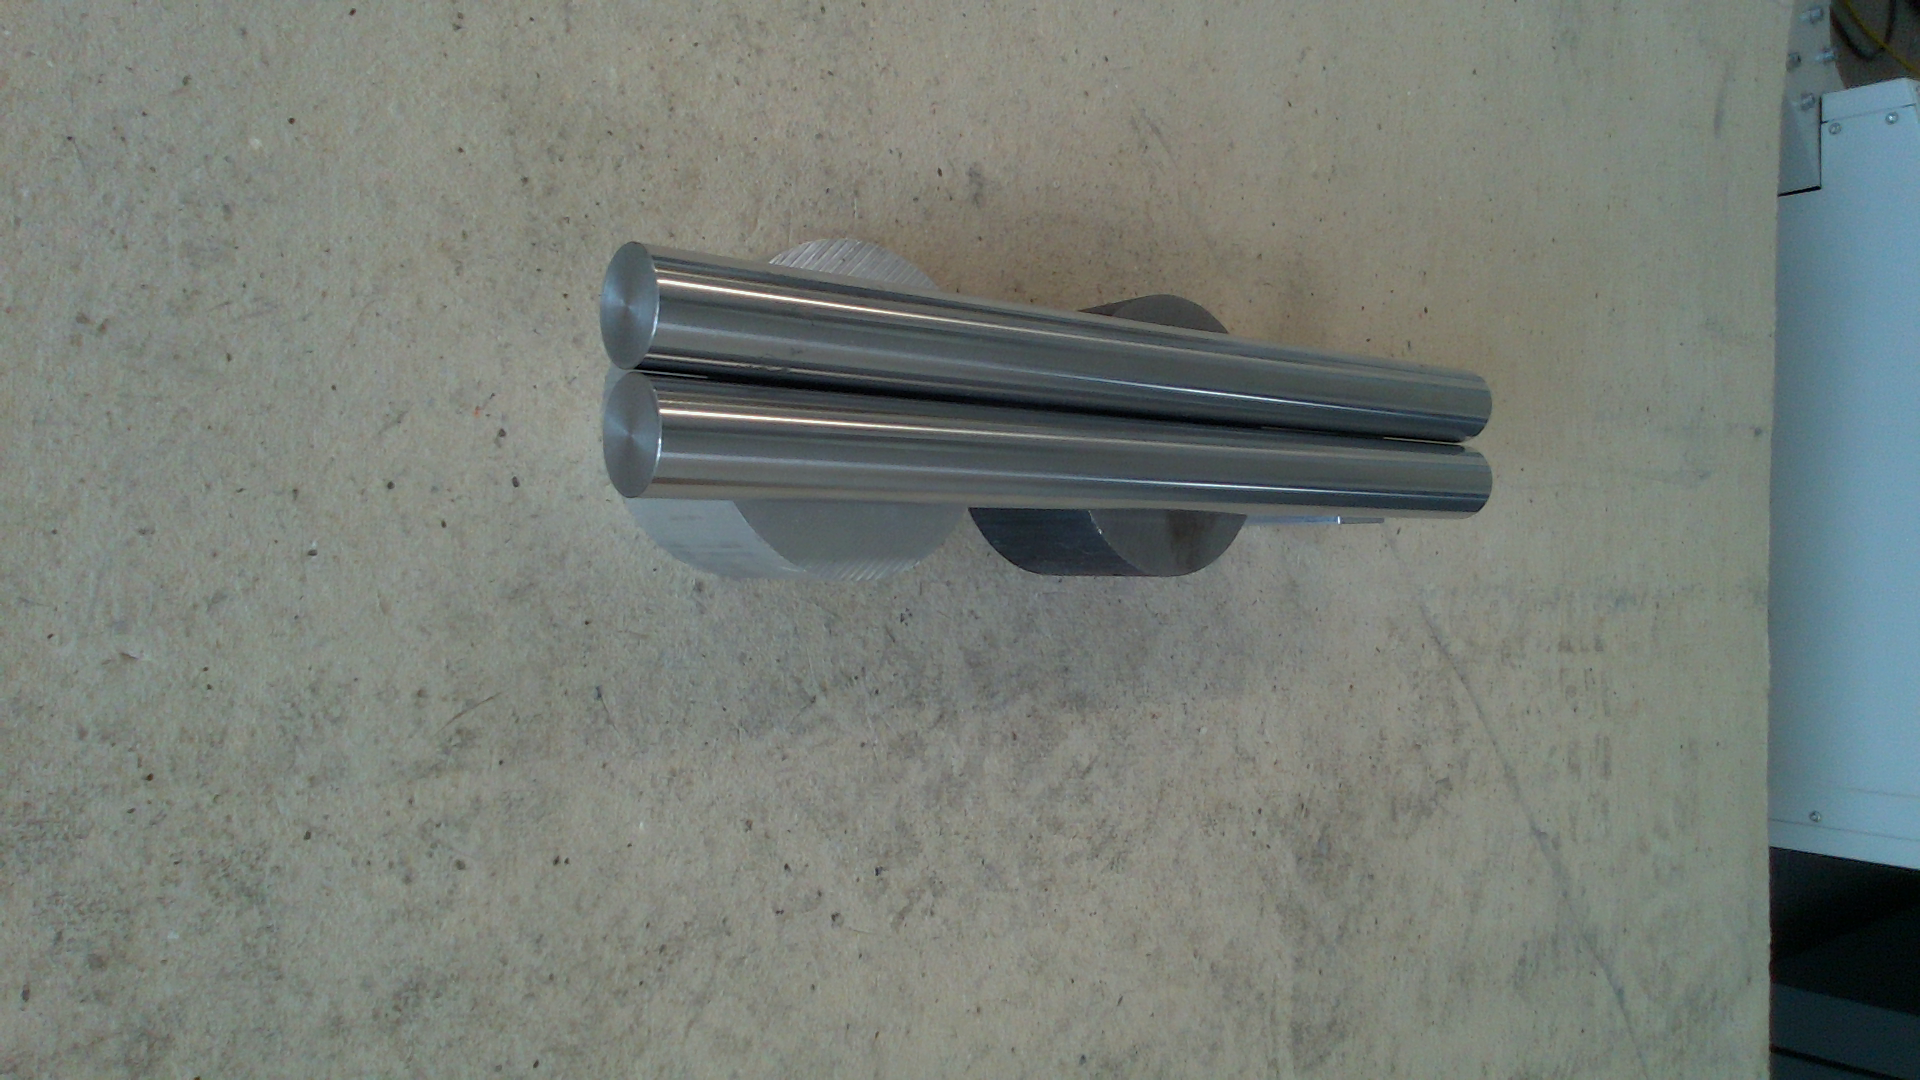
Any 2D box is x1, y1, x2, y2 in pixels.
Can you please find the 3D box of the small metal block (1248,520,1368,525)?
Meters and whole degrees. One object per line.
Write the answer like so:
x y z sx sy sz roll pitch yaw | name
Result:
0.114 -0.031 0.469 0.025 0.050 0.050 -2 91 -40 | small metal block

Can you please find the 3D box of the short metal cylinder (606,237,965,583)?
-0.039 -0.030 0.339 0.080 0.050 0.080 0 90 -40 | short metal cylinder

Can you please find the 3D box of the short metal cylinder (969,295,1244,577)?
0.045 -0.029 0.410 0.080 0.050 0.080 0 90 -40 | short metal cylinder

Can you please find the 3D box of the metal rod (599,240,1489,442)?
0.050 -0.045 0.365 0.301 0.025 0.025 0 90 -40 | metal rod

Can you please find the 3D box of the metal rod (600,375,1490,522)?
0.051 -0.019 0.366 0.301 0.025 0.025 0 90 -40 | metal rod
